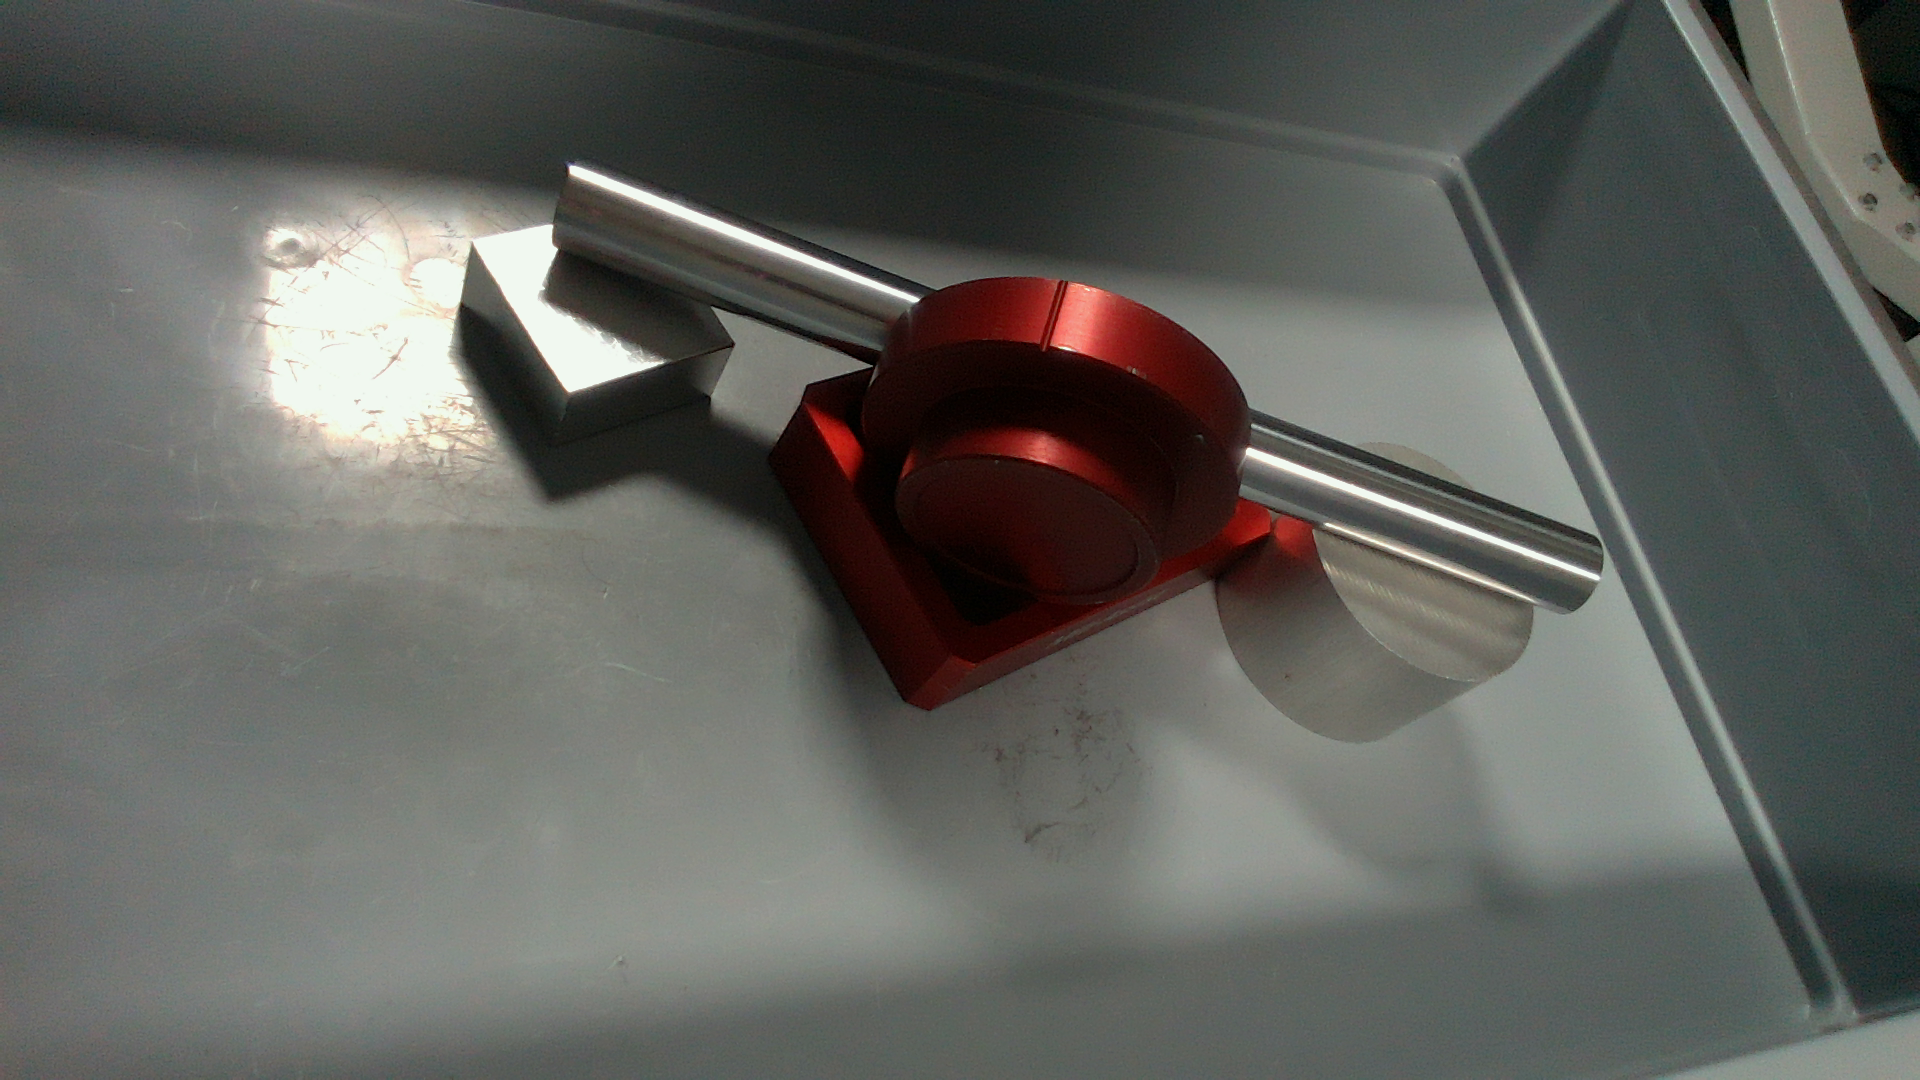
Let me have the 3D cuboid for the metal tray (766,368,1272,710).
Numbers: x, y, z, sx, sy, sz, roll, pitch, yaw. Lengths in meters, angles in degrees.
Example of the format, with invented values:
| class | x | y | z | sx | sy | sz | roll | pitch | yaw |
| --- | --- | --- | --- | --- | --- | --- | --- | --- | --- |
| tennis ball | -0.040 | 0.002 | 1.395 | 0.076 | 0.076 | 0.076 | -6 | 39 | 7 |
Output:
| class | x | y | z | sx | sy | sz | roll | pitch | yaw |
| --- | --- | --- | --- | --- | --- | --- | --- | --- | --- |
| metal tray | 0.021 | -0.016 | 0.405 | 0.130 | 0.030 | 0.090 | -21 | 73 | -36 |

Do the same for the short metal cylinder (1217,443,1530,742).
| class | x | y | z | sx | sy | sz | roll | pitch | yaw |
| --- | --- | --- | --- | --- | --- | --- | --- | --- | --- |
| short metal cylinder | 0.129 | 0.017 | 0.431 | 0.080 | 0.050 | 0.080 | 14 | 56 | -21 |

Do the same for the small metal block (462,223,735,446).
| class | x | y | z | sx | sy | sz | roll | pitch | yaw |
| --- | --- | --- | --- | --- | --- | --- | --- | --- | --- |
| small metal block | -0.098 | -0.059 | 0.372 | 0.050 | 0.025 | 0.050 | -24 | 75 | -37 |

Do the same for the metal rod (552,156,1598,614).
| class | x | y | z | sx | sy | sz | roll | pitch | yaw |
| --- | --- | --- | --- | --- | --- | --- | --- | --- | --- |
| metal rod | 0.039 | -0.039 | 0.380 | 0.300 | 0.025 | 0.025 | 19 | 54 | -9 |

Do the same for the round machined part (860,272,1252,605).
| class | x | y | z | sx | sy | sz | roll | pitch | yaw |
| --- | --- | --- | --- | --- | --- | --- | --- | --- | --- |
| round machined part | 0.021 | -0.019 | 0.348 | 0.098 | 0.098 | 0.042 | 25 | 60 | -13 |
